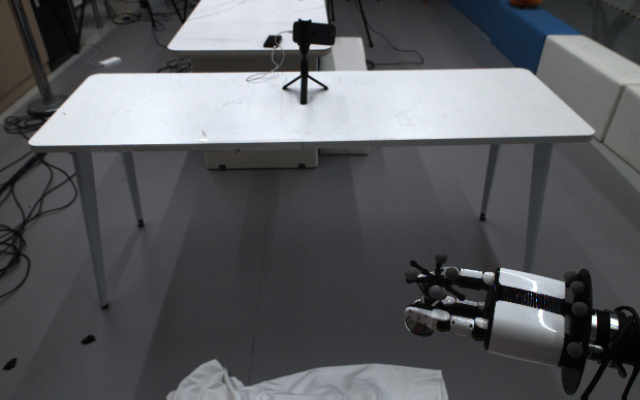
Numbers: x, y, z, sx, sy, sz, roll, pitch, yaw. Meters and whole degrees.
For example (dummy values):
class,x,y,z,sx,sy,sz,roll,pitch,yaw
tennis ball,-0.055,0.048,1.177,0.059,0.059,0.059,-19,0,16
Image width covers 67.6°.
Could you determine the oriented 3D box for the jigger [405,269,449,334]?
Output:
class,x,y,z,sx,sy,sz,roll,pitch,yaw
jigger,0.147,0.150,0.678,0.043,0.071,0.043,10,30,-6
